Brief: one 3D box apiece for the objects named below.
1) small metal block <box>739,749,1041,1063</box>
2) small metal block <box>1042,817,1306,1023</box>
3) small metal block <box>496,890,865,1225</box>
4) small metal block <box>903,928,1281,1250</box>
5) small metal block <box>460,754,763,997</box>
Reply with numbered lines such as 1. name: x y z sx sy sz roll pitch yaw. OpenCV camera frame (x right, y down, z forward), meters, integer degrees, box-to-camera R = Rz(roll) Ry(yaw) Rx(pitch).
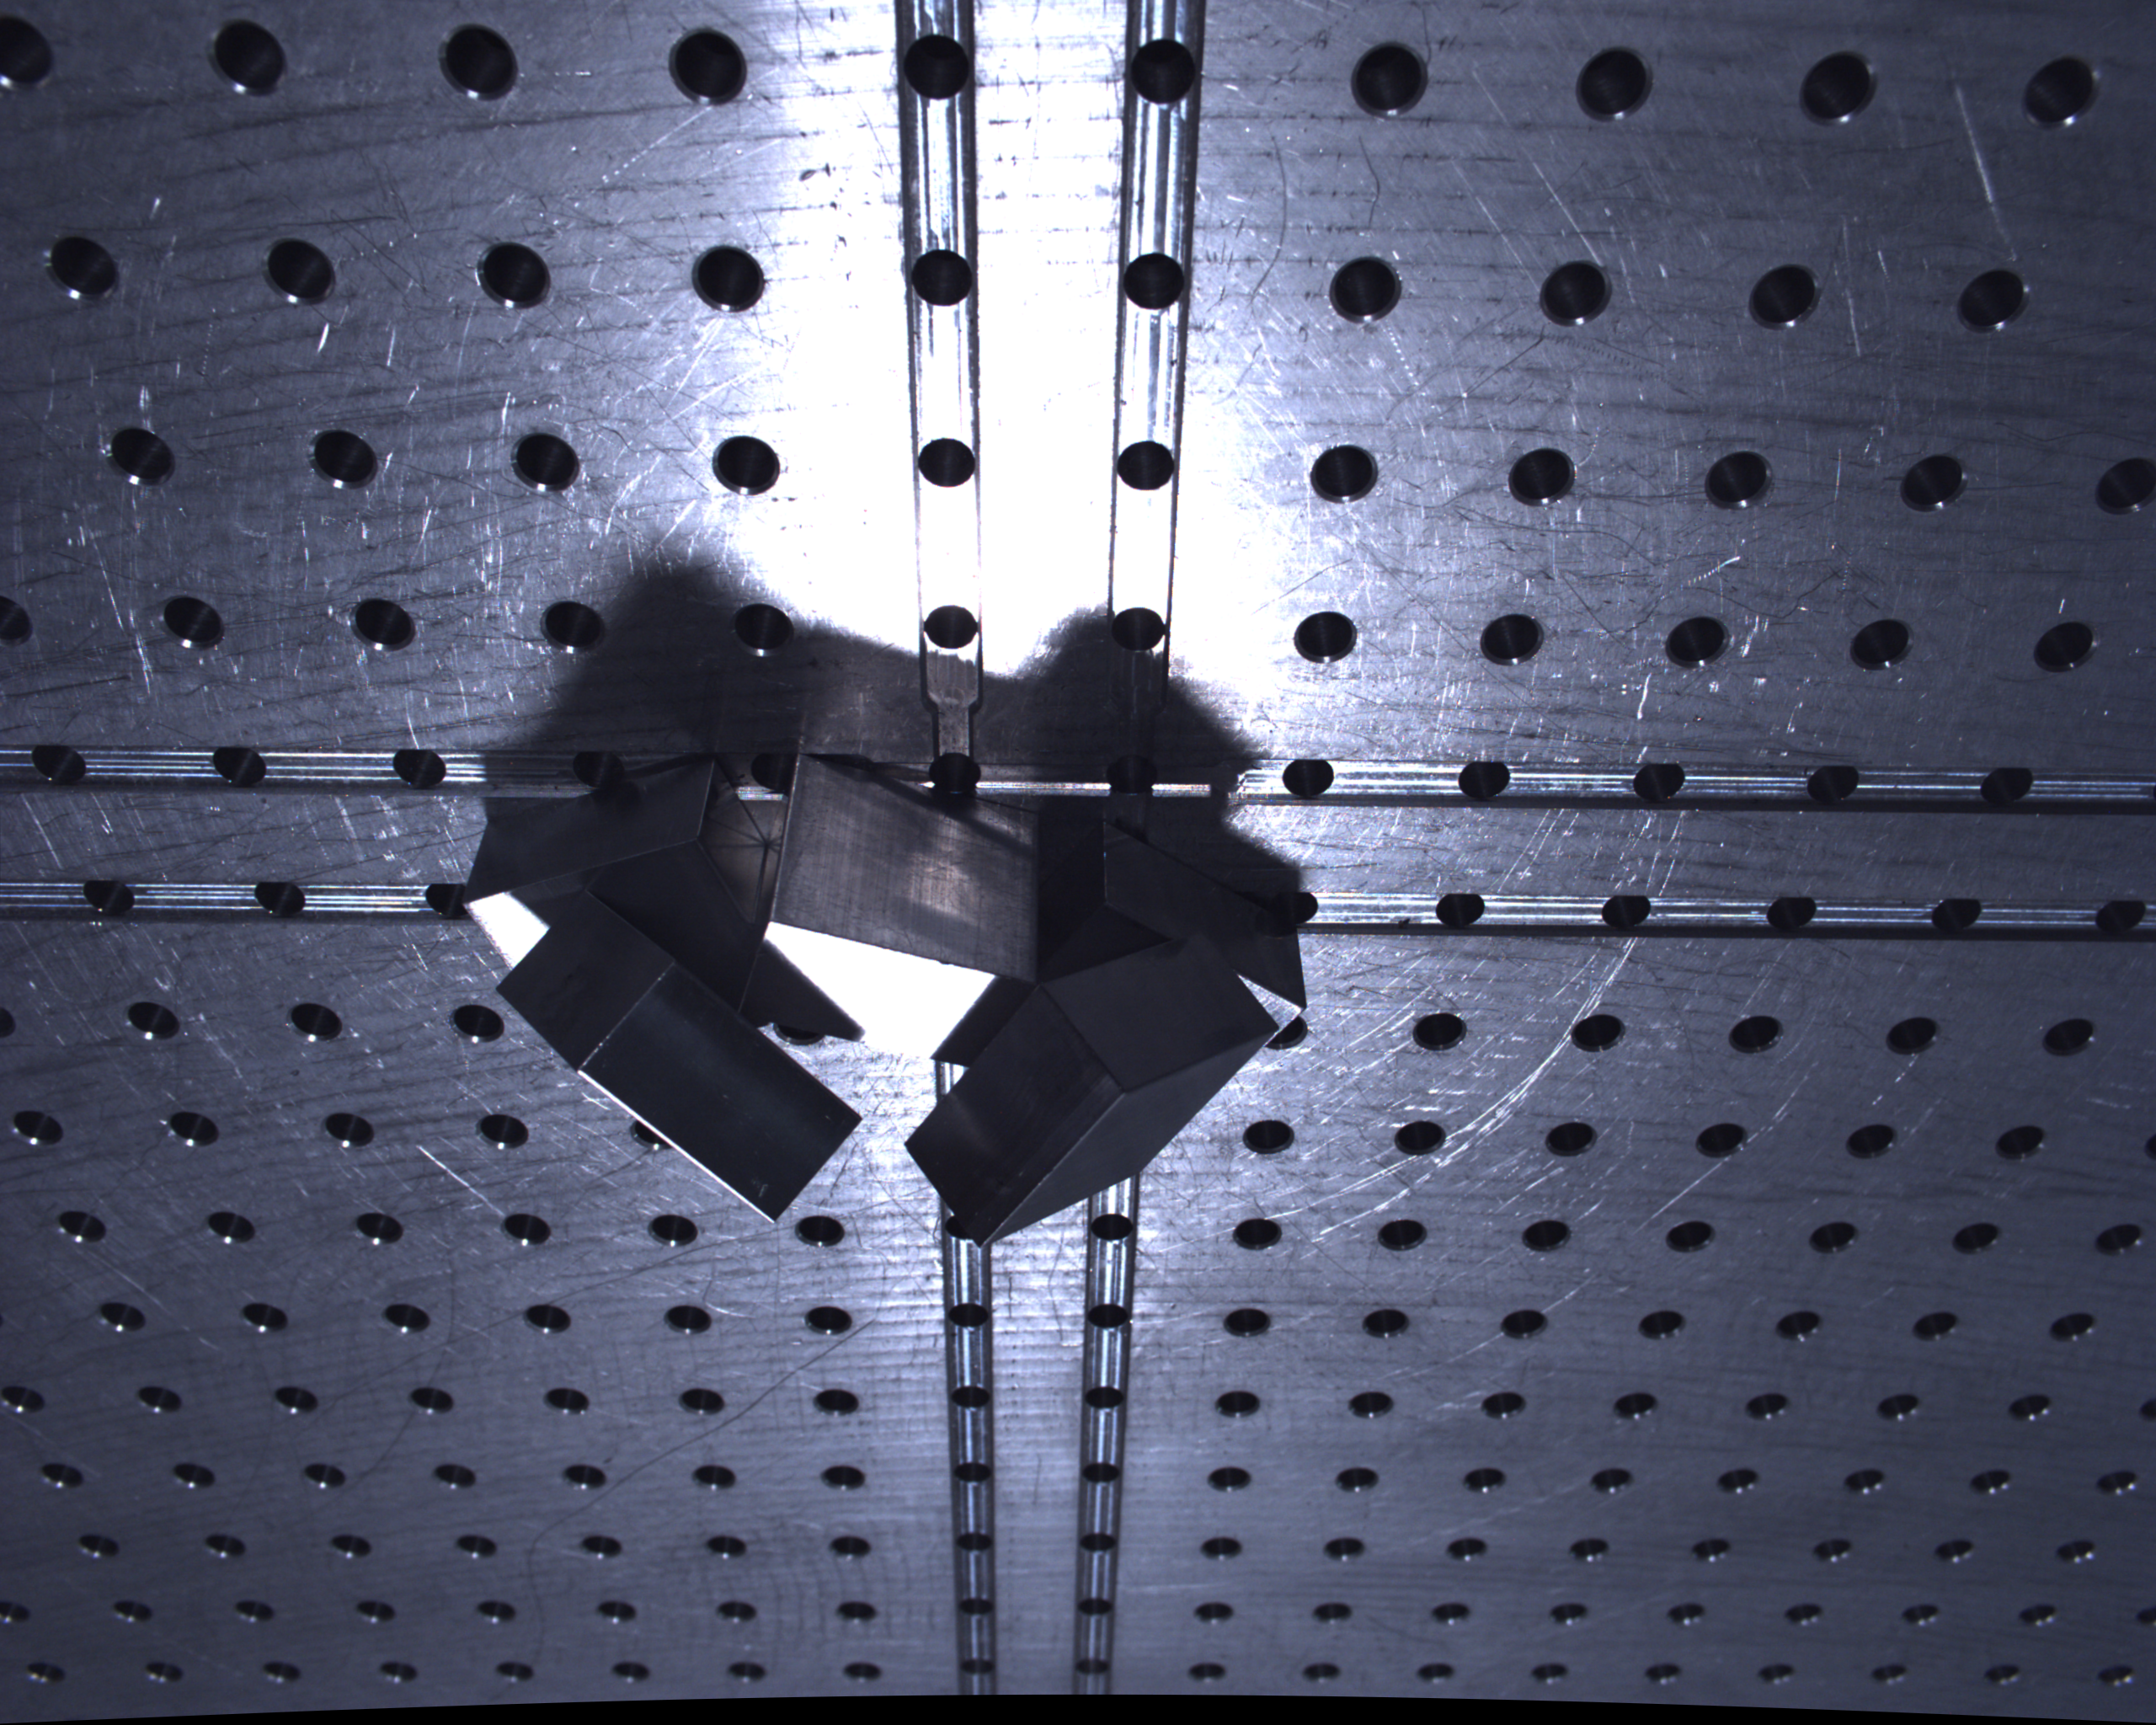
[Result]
1. small metal block: -0.035 0.009 0.402 0.050 0.050 0.025 14 129 -13
2. small metal block: 0.011 0.025 0.434 0.050 0.025 0.050 29 124 -23
3. small metal block: -0.075 0.035 0.388 0.025 0.050 0.050 -50 122 -10
4. small metal block: 0.003 0.042 0.396 0.050 0.025 0.050 -15 150 -51
5. small metal block: -0.087 0.011 0.420 0.050 0.025 0.050 -15 129 12
